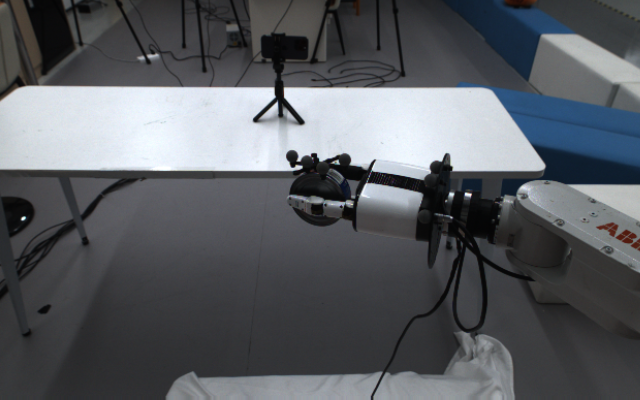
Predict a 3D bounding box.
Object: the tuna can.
[{"bbox_3d":[0.002,-0.008,0.707,0.085,0.085,0.034,14,29,16],"label":"tuna can"}]
